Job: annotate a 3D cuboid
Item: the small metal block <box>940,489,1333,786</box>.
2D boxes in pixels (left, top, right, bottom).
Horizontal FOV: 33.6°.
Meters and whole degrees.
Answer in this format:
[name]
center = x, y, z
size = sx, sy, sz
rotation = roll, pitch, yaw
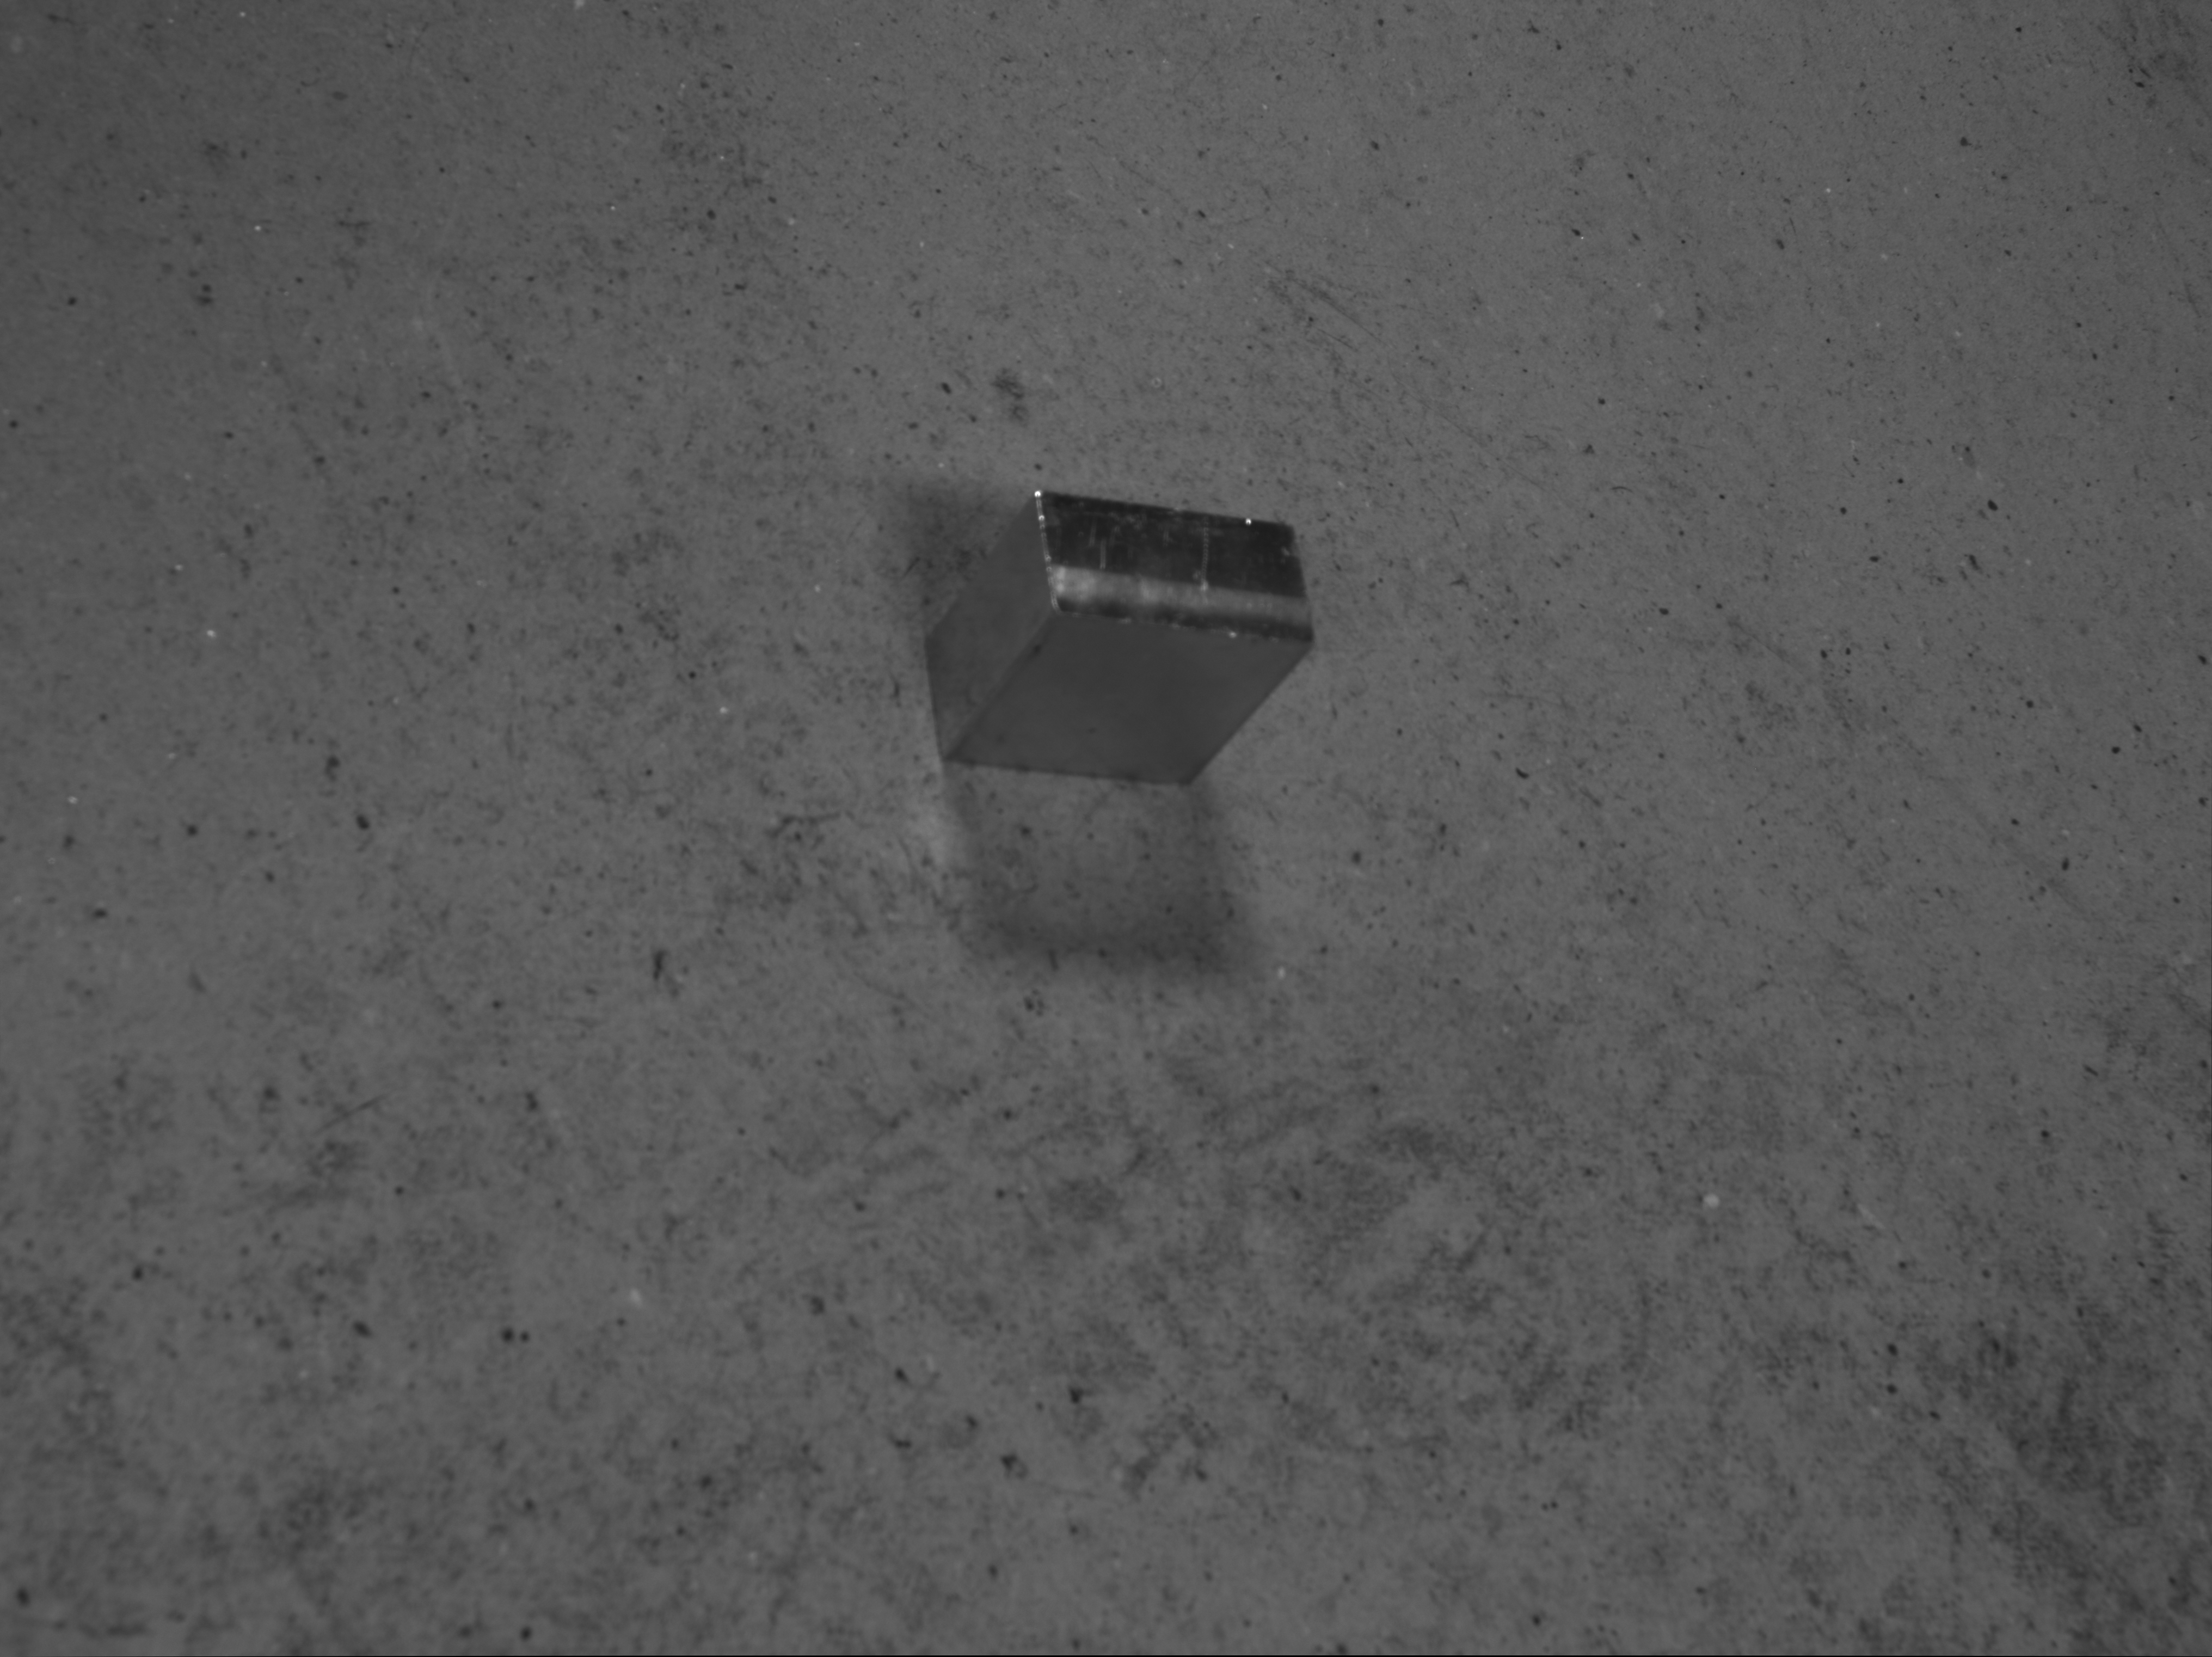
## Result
[small metal block]
center = 0.005, -0.033, 0.646
size = 0.050, 0.050, 0.025
rotation = 5, 59, -25
